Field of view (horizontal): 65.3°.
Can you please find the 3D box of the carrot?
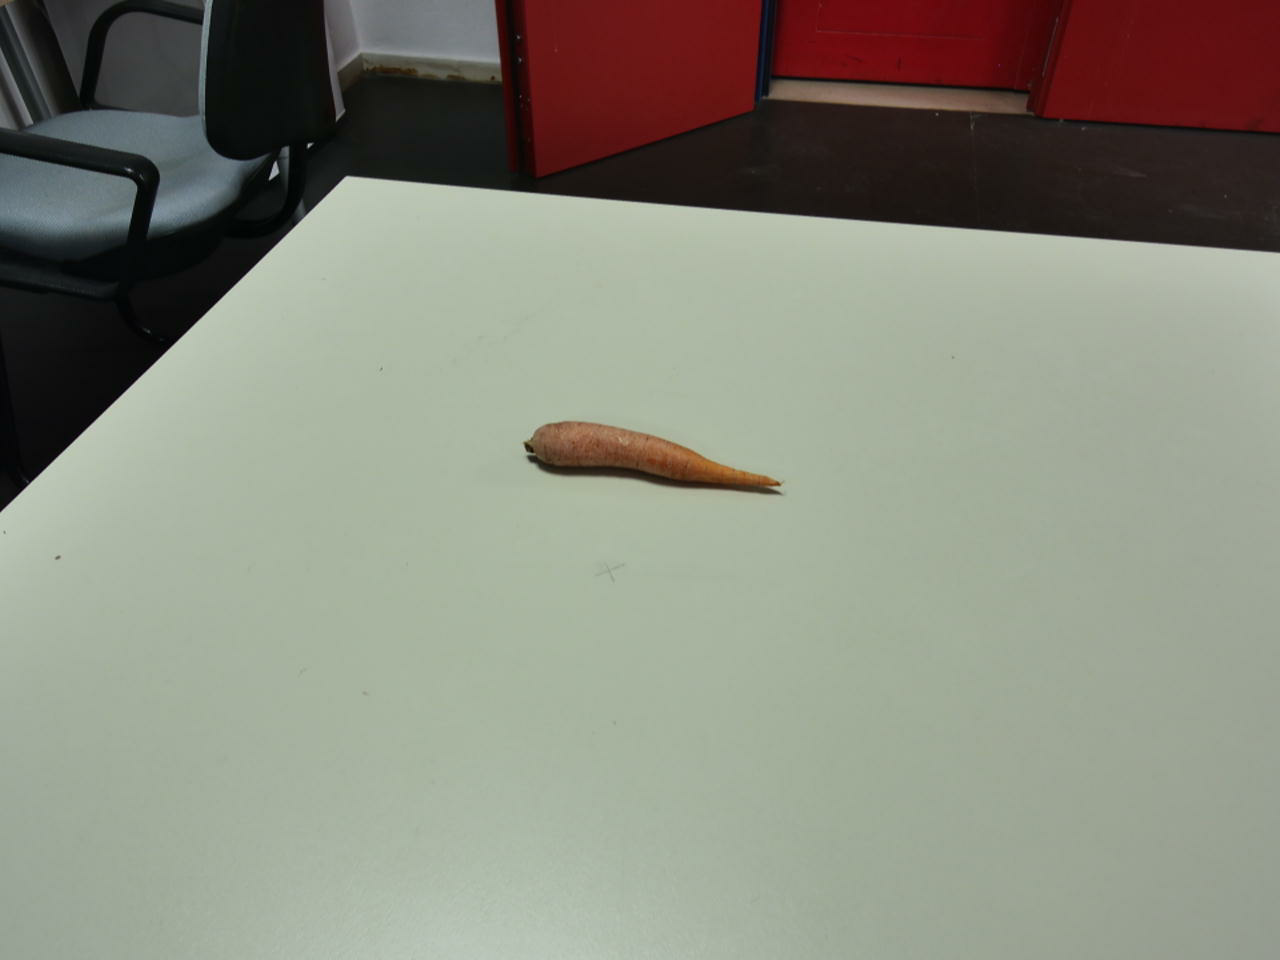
[{"bbox_3d":[0.007,-0.015,0.616,0.163,0.029,0.031,8,40,10],"label":"carrot"}]
